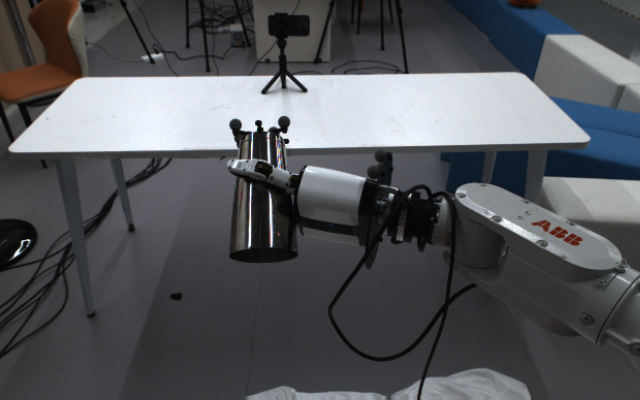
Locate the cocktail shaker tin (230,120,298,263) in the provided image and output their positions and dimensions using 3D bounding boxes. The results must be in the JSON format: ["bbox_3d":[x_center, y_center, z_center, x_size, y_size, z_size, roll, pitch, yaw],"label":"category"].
[{"bbox_3d":[-0.080,-0.005,0.673,0.093,0.093,0.170,-2,71,-6],"label":"cocktail shaker tin"}]
